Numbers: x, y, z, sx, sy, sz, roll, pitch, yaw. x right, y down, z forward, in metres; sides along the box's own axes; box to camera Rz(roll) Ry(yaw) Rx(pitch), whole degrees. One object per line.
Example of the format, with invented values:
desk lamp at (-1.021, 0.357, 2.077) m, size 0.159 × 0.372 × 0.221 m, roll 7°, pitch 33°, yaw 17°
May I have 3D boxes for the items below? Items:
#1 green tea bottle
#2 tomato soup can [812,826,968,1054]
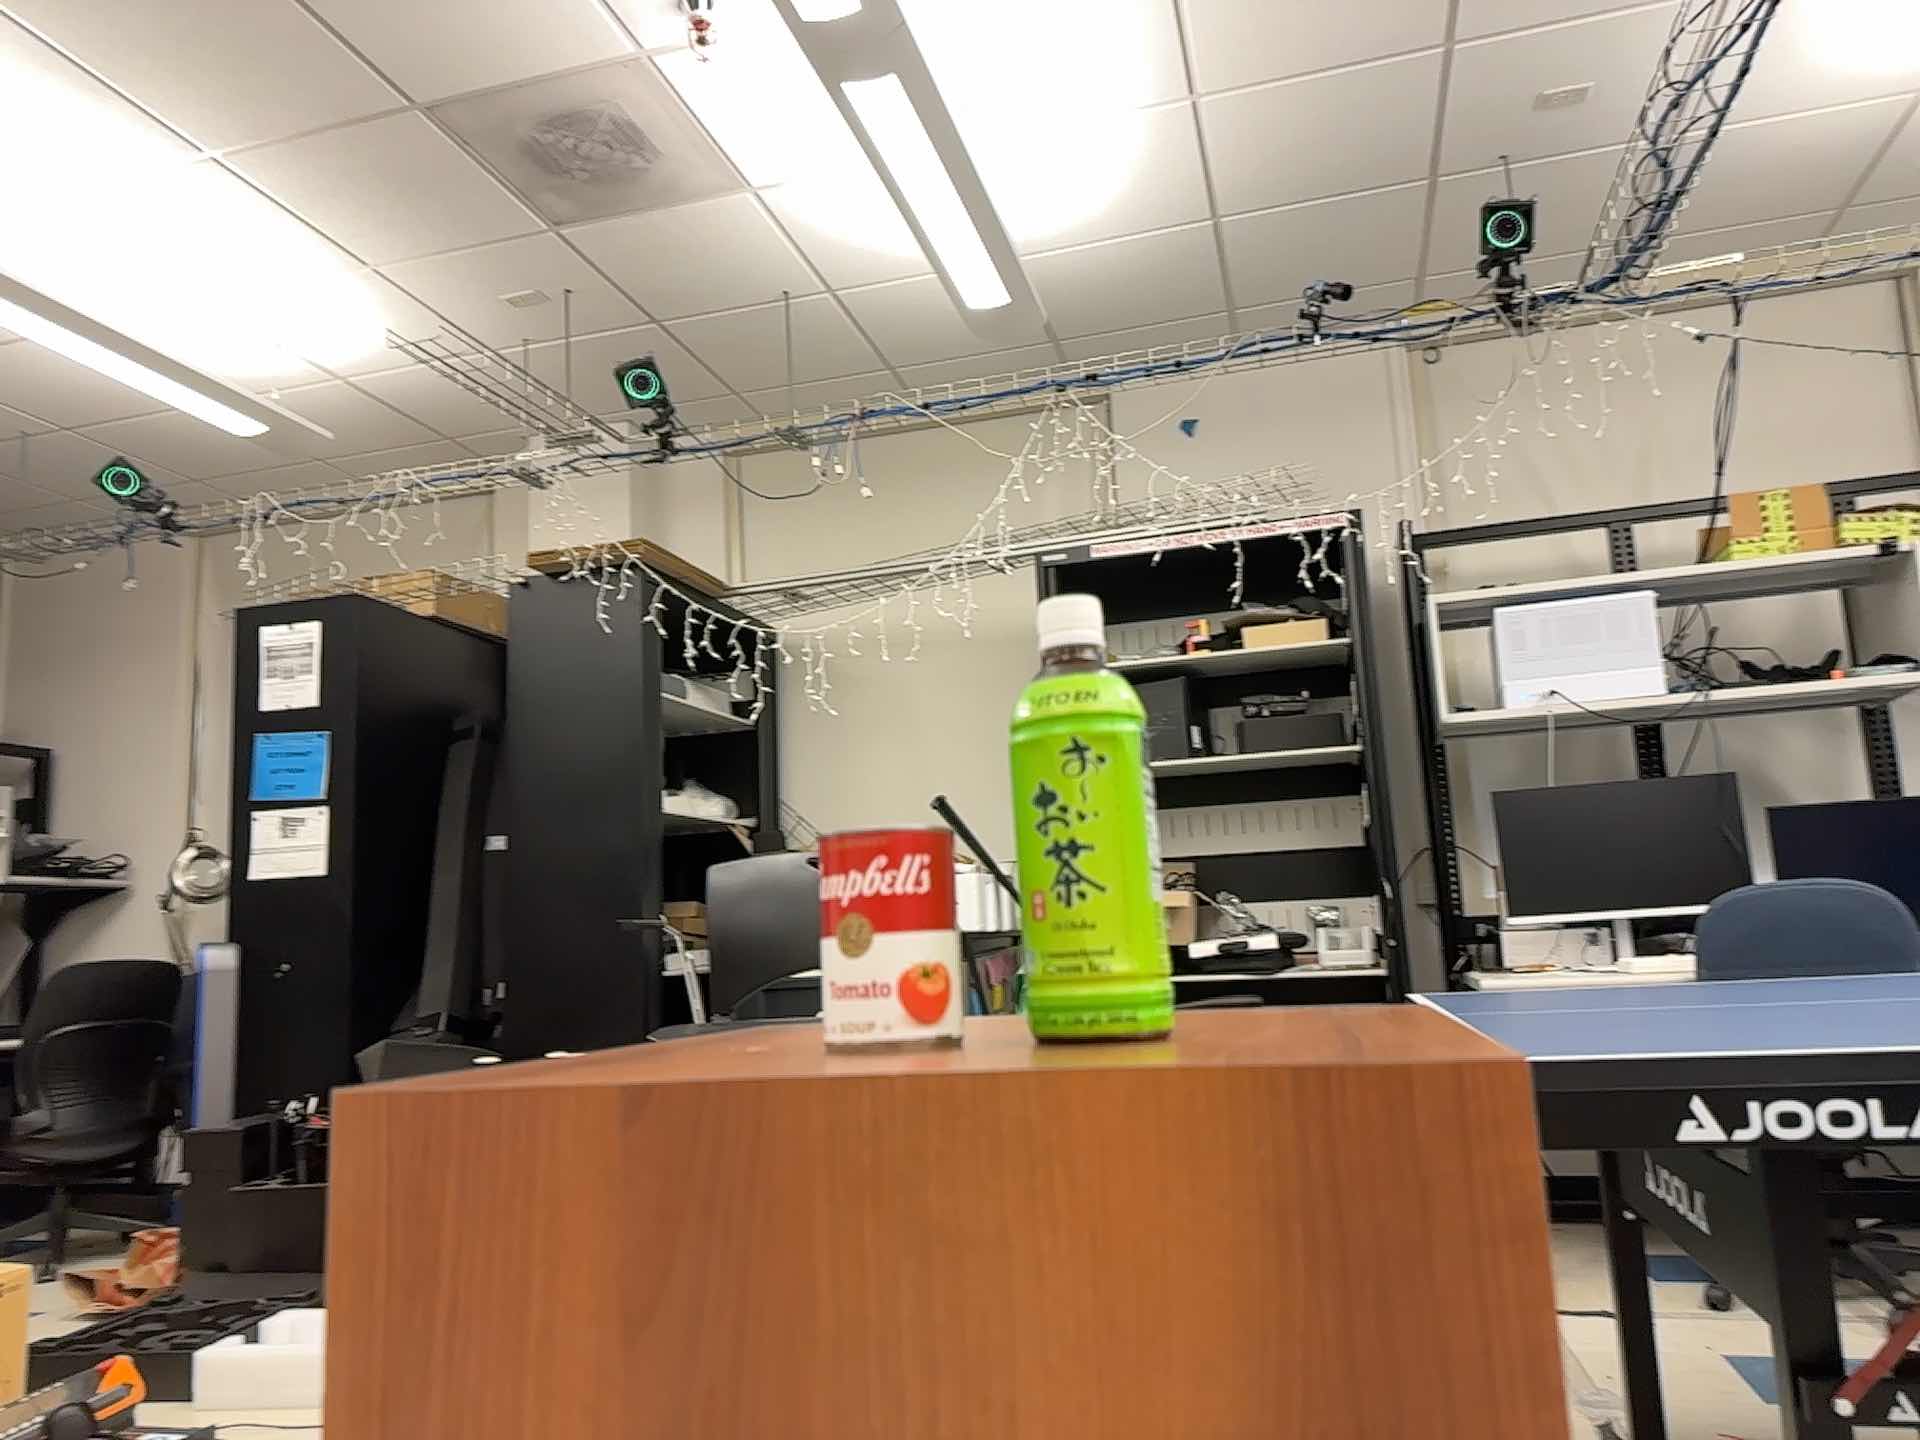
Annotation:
green tea bottle at (0.061, 0.048, 0.635) m, size 0.073 × 0.212 × 0.073 m, roll -5°, pitch -11°, yaw -1°
tomato soup can at (-0.033, 0.105, 0.637) m, size 0.067 × 0.102 × 0.067 m, roll -4°, pitch -11°, yaw -1°
